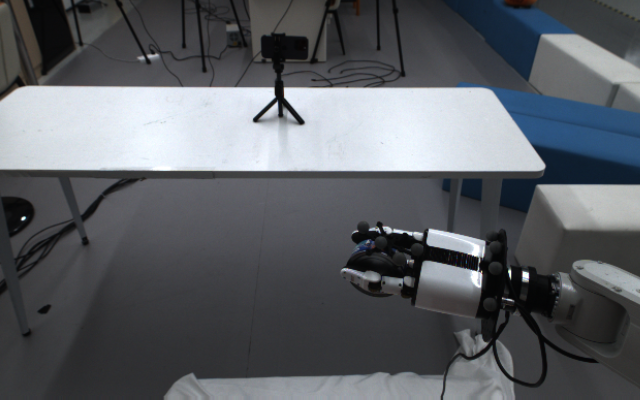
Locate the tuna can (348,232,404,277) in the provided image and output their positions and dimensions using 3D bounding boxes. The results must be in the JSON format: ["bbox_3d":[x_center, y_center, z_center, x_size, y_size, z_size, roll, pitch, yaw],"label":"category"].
[{"bbox_3d":[0.086,0.096,0.705,0.085,0.085,0.034,12,33,14],"label":"tuna can"}]
